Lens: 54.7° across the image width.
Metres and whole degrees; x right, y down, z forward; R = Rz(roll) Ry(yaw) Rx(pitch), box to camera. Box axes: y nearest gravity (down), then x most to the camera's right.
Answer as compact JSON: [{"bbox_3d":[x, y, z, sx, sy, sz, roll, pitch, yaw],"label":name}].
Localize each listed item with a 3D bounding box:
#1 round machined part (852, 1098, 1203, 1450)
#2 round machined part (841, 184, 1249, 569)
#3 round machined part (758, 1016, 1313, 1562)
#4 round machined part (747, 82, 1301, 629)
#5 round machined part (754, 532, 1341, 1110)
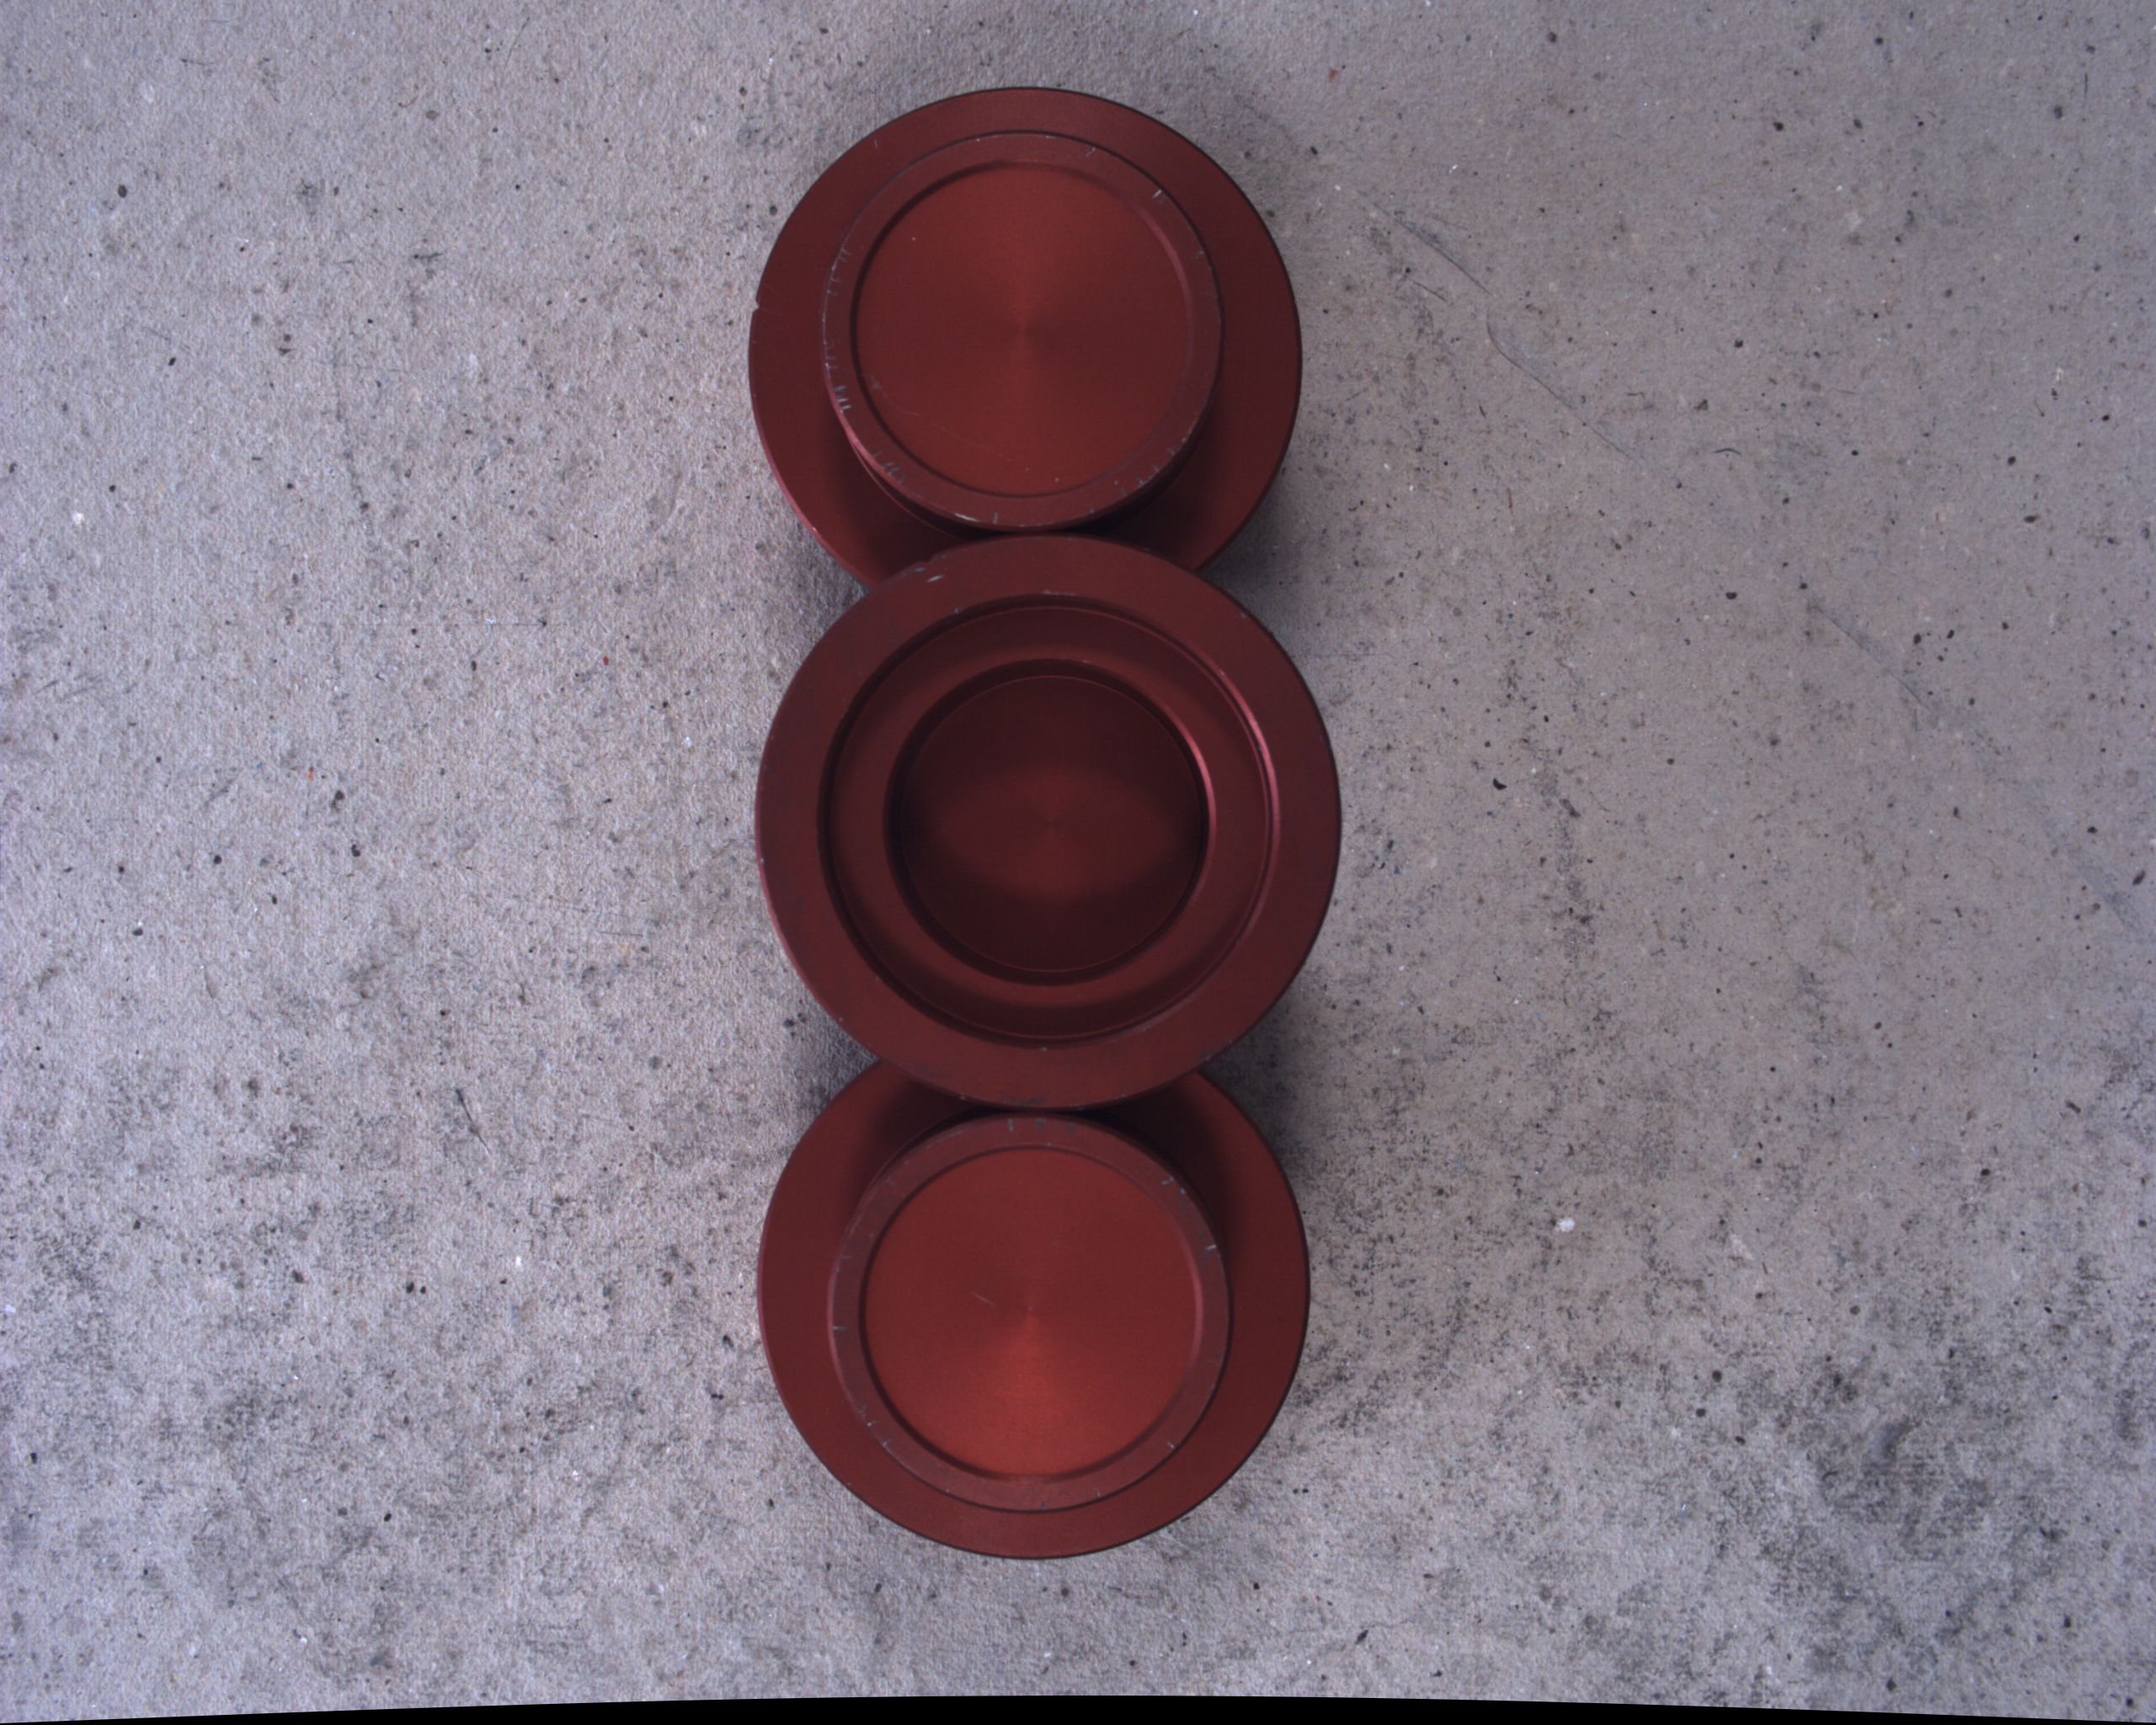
[{"bbox_3d":[-0.008,0.077,0.404,0.099,0.042,0.097,0,89,1],"label":"round machined part"},{"bbox_3d":[-0.009,-0.093,0.402,0.099,0.042,0.097,0,91,1],"label":"round machined part"},{"bbox_3d":[-0.008,0.076,0.369,0.099,0.042,0.097,0,91,1],"label":"round machined part"},{"bbox_3d":[-0.010,-0.090,0.370,0.099,0.042,0.097,0,91,1],"label":"round machined part"},{"bbox_3d":[-0.005,-0.007,0.371,0.099,0.042,0.097,0,90,0],"label":"round machined part"}]
